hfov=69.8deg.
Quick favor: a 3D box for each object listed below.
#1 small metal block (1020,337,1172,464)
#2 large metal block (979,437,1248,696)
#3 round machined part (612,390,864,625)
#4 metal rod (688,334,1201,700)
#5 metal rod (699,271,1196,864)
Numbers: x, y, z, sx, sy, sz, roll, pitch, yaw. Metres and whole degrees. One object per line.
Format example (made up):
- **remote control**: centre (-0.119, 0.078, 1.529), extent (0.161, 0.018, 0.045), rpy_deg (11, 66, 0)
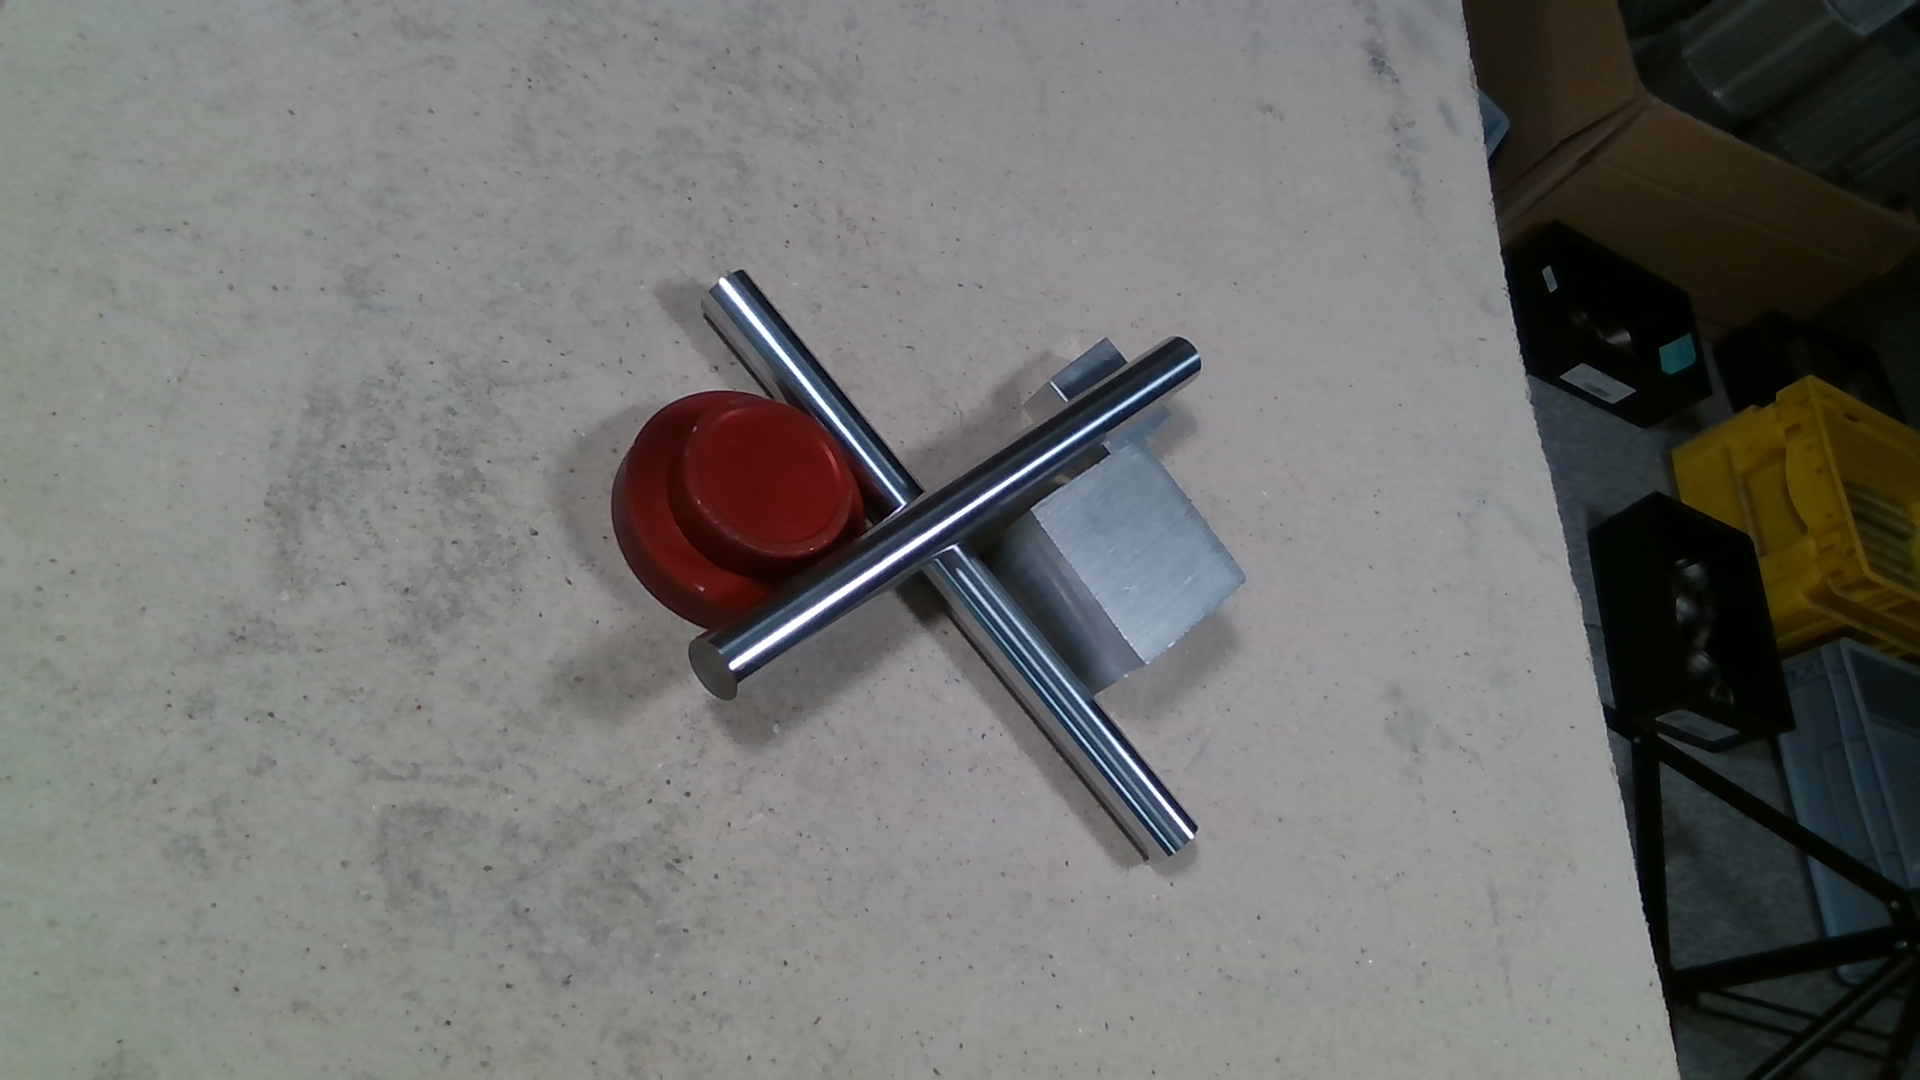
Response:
- **small metal block**: centre (0.066, -0.062, 0.661), extent (0.050, 0.025, 0.050), rpy_deg (50, 51, 1)
- **large metal block**: centre (0.066, 0.013, 0.605), extent (0.080, 0.050, 0.080), rpy_deg (-33, 85, -39)
- **round machined part**: centre (-0.081, -0.016, 0.533), extent (0.098, 0.042, 0.098), rpy_deg (14, 59, -25)
- **metal rod**: centre (0.010, -0.021, 0.571), extent (0.299, 0.025, 0.025), rpy_deg (-35, 86, -39)
- **metal rod**: centre (-0.006, 0.011, 0.579), extent (0.300, 0.025, 0.025), rpy_deg (51, 51, 2)
